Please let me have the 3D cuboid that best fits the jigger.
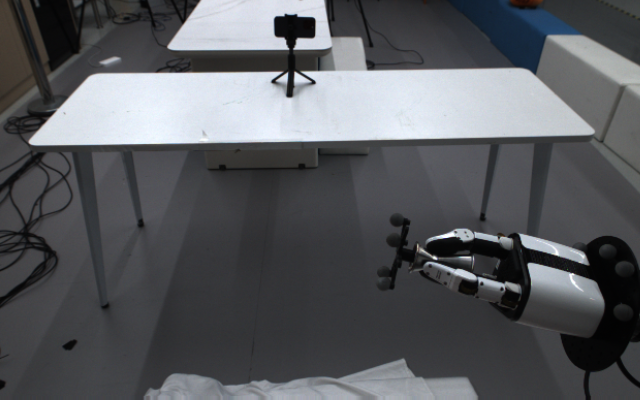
[{"bbox_3d":[0.150,0.074,0.580,0.071,0.043,0.043,14,36,5],"label":"jigger"}]
